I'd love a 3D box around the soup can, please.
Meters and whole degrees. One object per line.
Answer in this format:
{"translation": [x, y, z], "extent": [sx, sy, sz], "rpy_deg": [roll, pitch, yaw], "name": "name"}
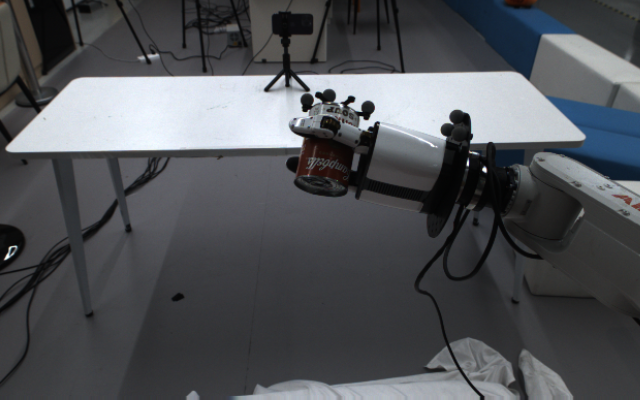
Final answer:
{"translation": [0.011, -0.062, 0.604], "extent": [0.067, 0.067, 0.101], "rpy_deg": [8, 72, 9], "name": "soup can"}
